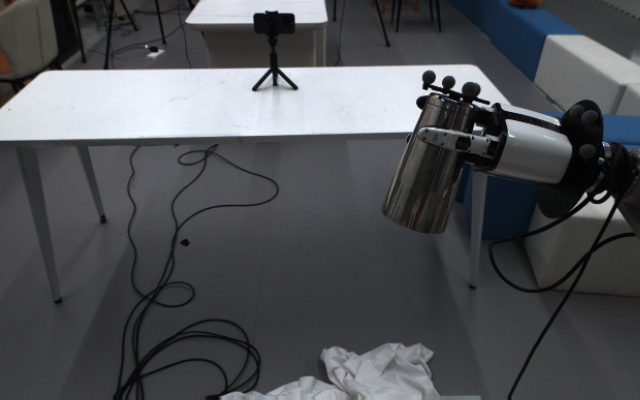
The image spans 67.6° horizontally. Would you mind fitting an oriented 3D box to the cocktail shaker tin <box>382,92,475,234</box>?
[{"bbox_3d":[0.152,-0.054,0.652,0.093,0.170,0.093,14,18,-5],"label":"cocktail shaker tin"}]
